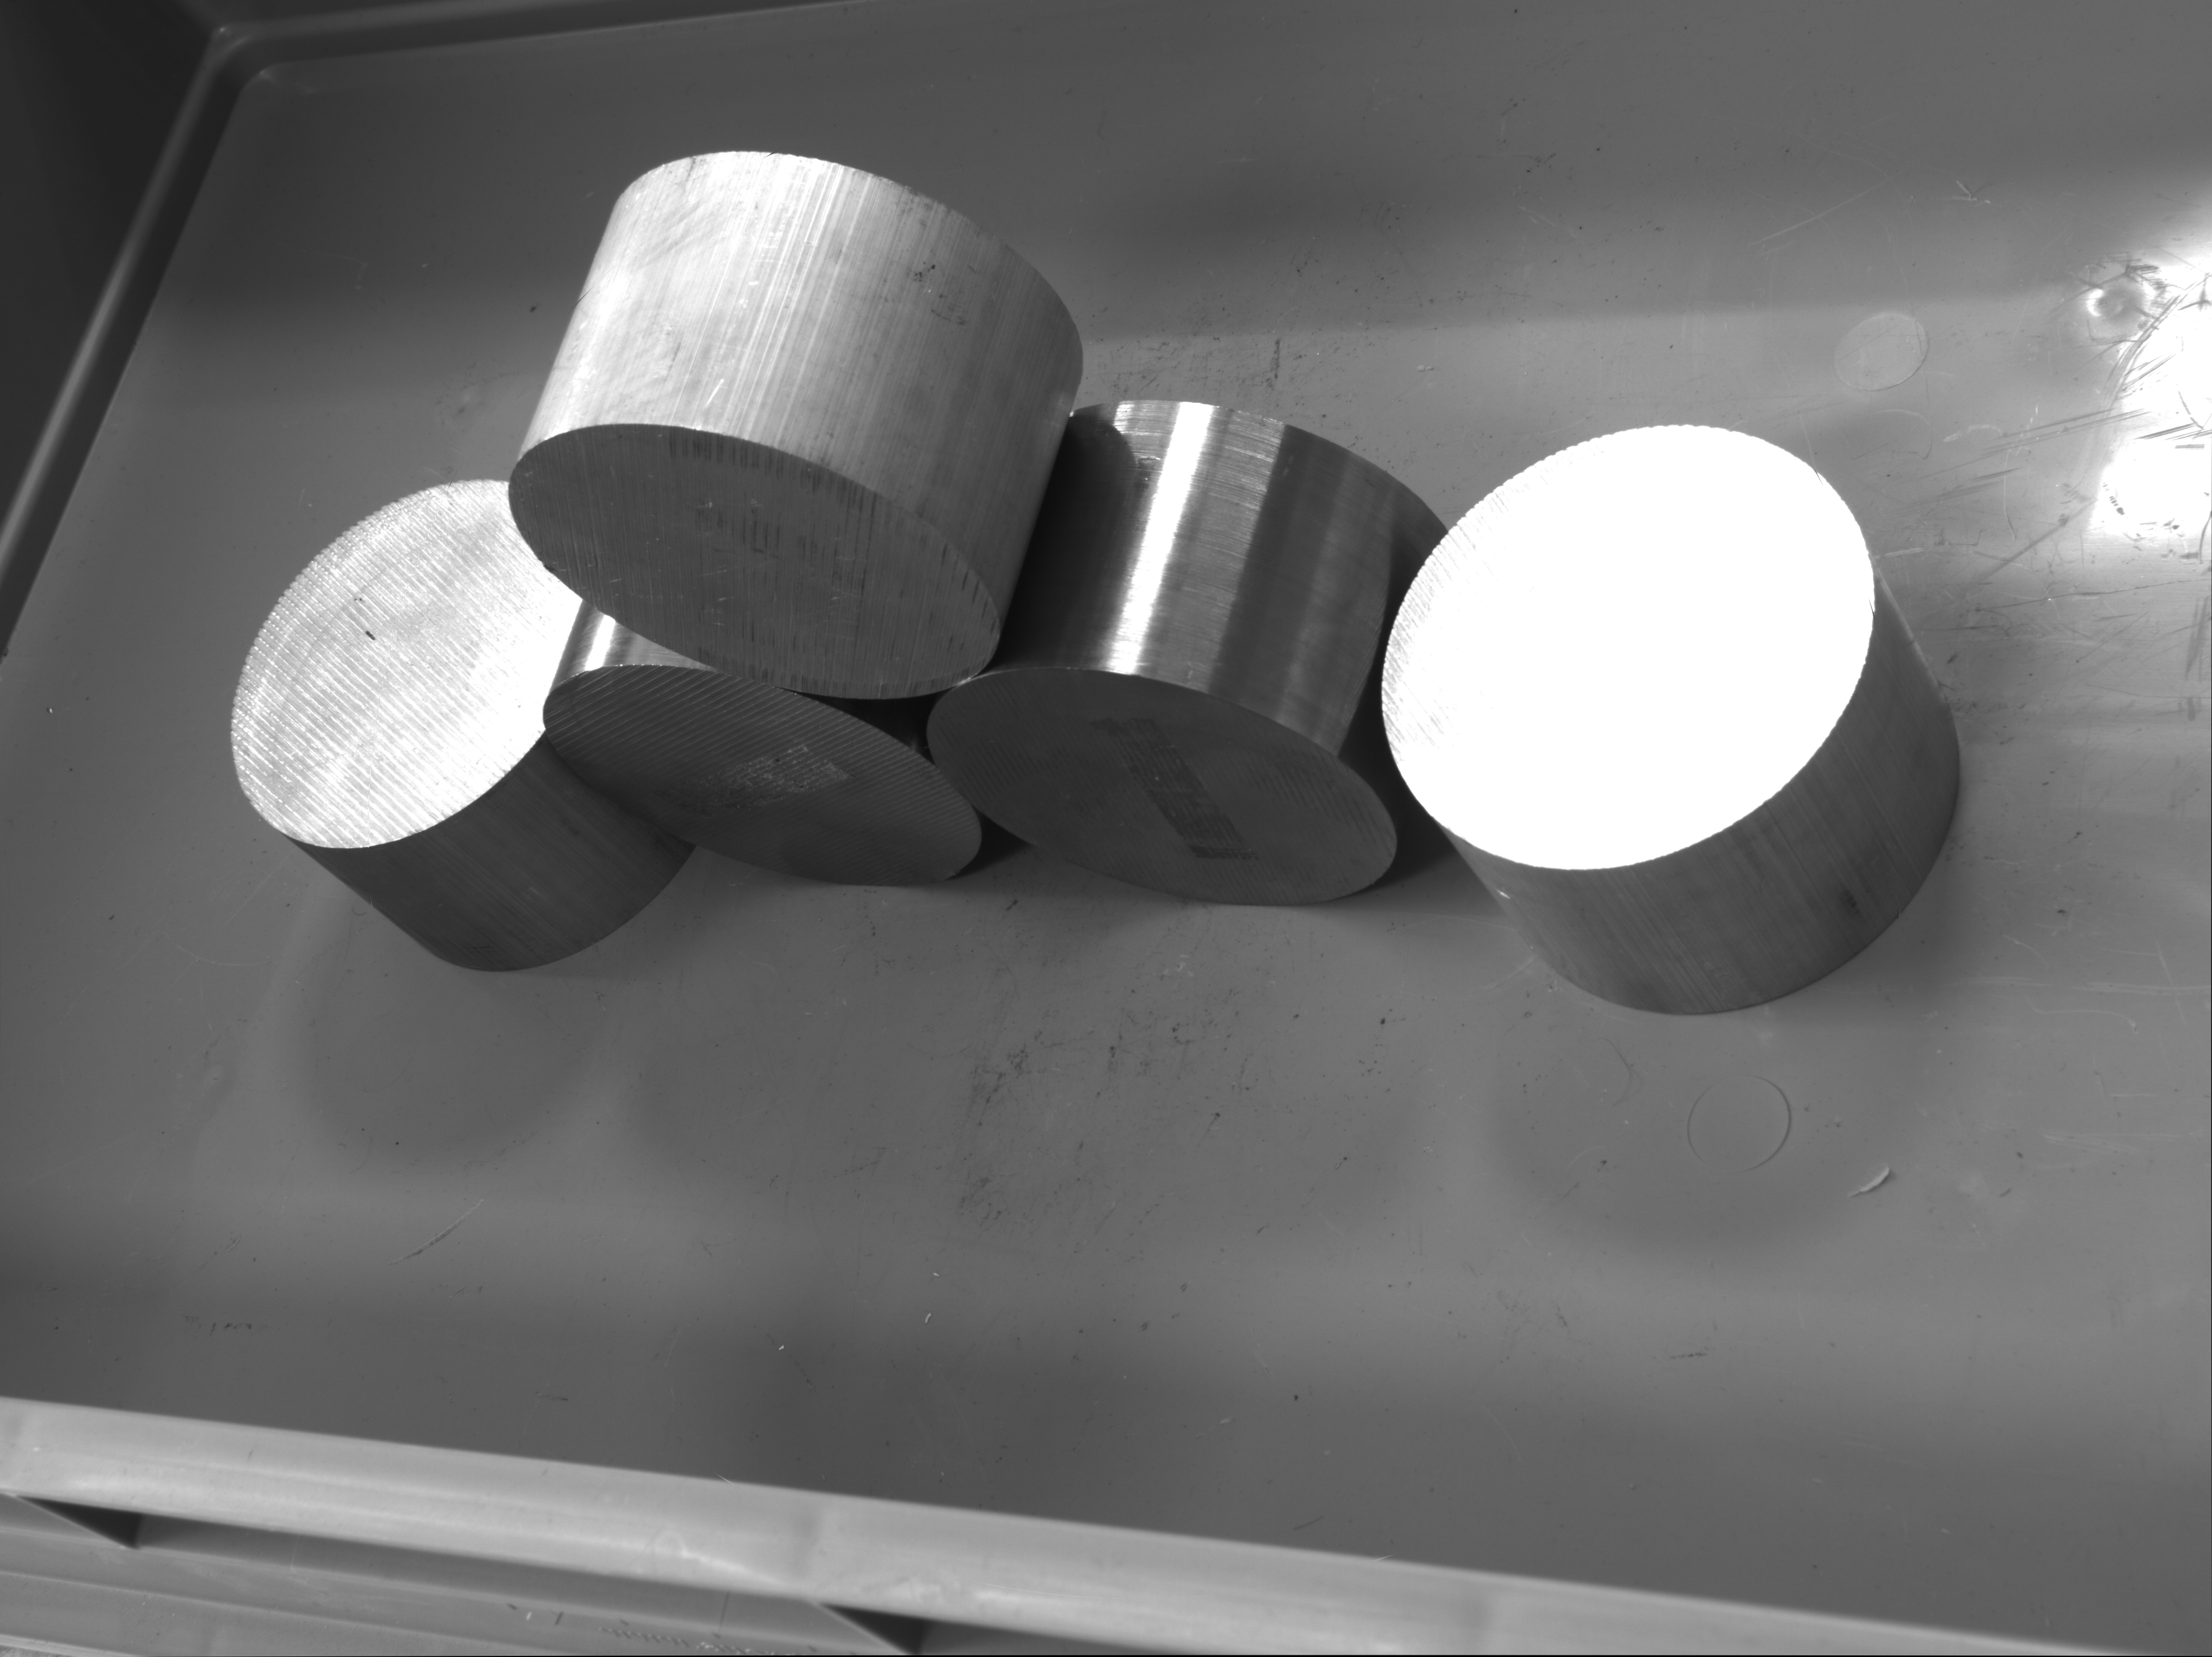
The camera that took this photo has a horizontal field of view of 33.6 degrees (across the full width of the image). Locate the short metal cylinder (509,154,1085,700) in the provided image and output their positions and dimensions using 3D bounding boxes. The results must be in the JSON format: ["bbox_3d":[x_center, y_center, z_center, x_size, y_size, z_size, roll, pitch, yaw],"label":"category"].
[{"bbox_3d":[-0.048,-0.062,0.583,0.080,0.080,0.050,2,62,29],"label":"short metal cylinder"}]

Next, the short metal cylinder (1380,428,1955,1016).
[{"bbox_3d":[0.090,-0.017,0.589,0.080,0.050,0.080,-14,56,21],"label":"short metal cylinder"}]

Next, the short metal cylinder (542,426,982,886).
[{"bbox_3d":[-0.054,-0.031,0.656,0.080,0.080,0.050,2,62,29],"label":"short metal cylinder"}]

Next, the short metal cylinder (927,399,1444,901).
[{"bbox_3d":[0.015,-0.029,0.617,0.080,0.080,0.050,2,62,29],"label":"short metal cylinder"}]

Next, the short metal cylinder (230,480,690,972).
[{"bbox_3d":[-0.120,-0.020,0.704,0.080,0.050,0.080,-14,56,21],"label":"short metal cylinder"}]
